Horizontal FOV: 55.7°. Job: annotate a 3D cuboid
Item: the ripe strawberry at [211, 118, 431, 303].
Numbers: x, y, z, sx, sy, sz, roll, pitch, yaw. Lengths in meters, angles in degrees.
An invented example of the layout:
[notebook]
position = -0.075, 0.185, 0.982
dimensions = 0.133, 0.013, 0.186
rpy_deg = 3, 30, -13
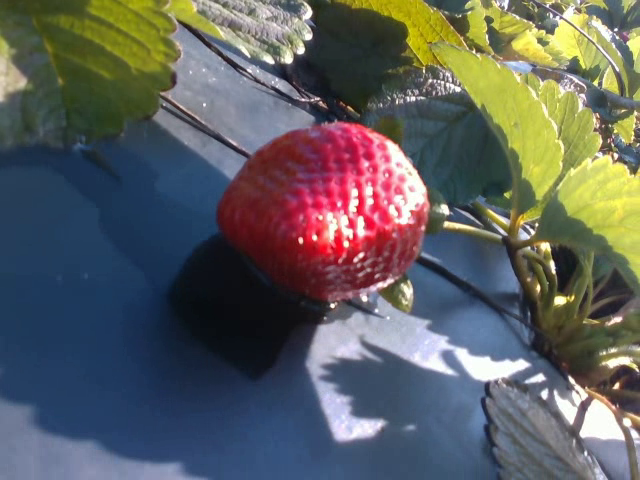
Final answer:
[ripe strawberry]
position = 0.000, -0.003, 0.113
dimensions = 0.044, 0.042, 0.055
rpy_deg = -10, 7, 21
